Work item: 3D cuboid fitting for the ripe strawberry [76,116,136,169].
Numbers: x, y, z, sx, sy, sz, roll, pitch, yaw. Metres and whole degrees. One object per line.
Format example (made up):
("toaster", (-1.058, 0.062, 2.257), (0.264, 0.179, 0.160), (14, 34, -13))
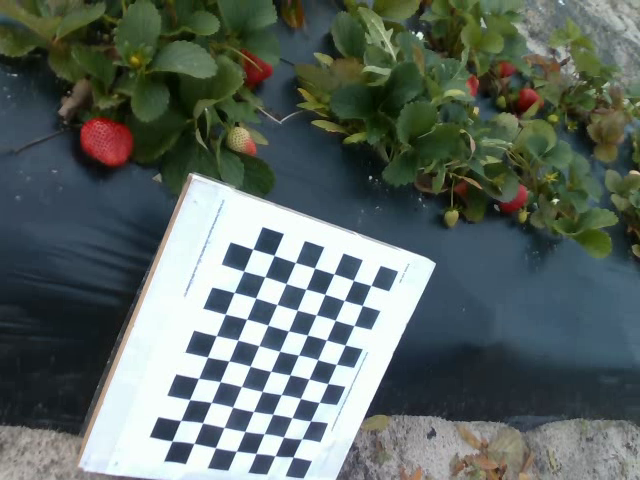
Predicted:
("ripe strawberry", (-0.149, -0.066, 0.391), (0.037, 0.046, 0.037), (-24, -26, -7))
